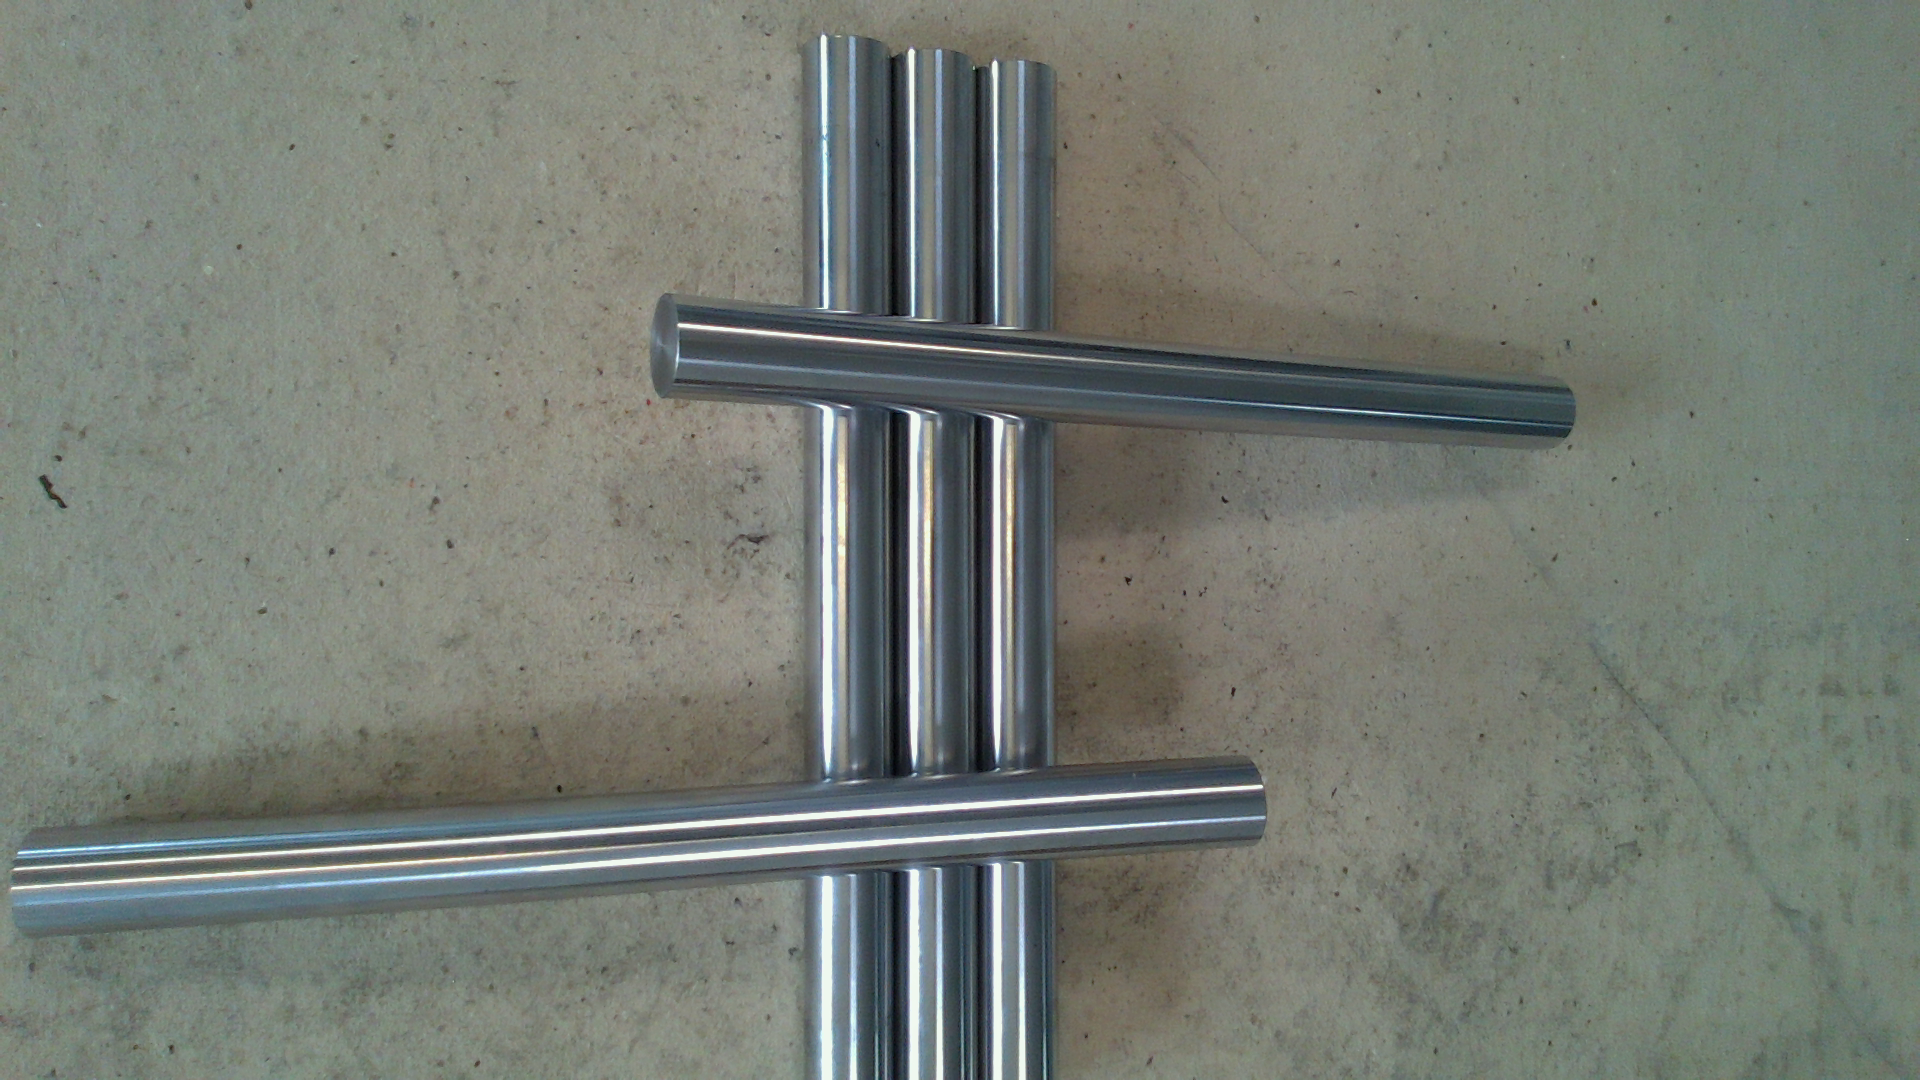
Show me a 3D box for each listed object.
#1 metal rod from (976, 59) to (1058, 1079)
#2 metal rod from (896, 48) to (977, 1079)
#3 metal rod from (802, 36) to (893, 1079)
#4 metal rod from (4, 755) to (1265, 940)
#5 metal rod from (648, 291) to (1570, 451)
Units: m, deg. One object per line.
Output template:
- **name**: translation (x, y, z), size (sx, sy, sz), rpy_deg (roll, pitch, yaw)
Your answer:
- **metal rod**: translation (0.016, 0.015, 0.399), size (0.025, 0.025, 0.300), rpy_deg (0, 90, -20)
- **metal rod**: translation (-0.008, 0.015, 0.390), size (0.025, 0.025, 0.300), rpy_deg (0, 90, -20)
- **metal rod**: translation (-0.031, 0.015, 0.382), size (0.025, 0.025, 0.300), rpy_deg (0, 90, -20)
- **metal rod**: translation (-0.067, 0.075, 0.349), size (0.301, 0.025, 0.025), rpy_deg (-1, 91, -13)
- **metal rod**: translation (0.063, -0.045, 0.396), size (0.301, 0.025, 0.025), rpy_deg (1, 90, -28)
